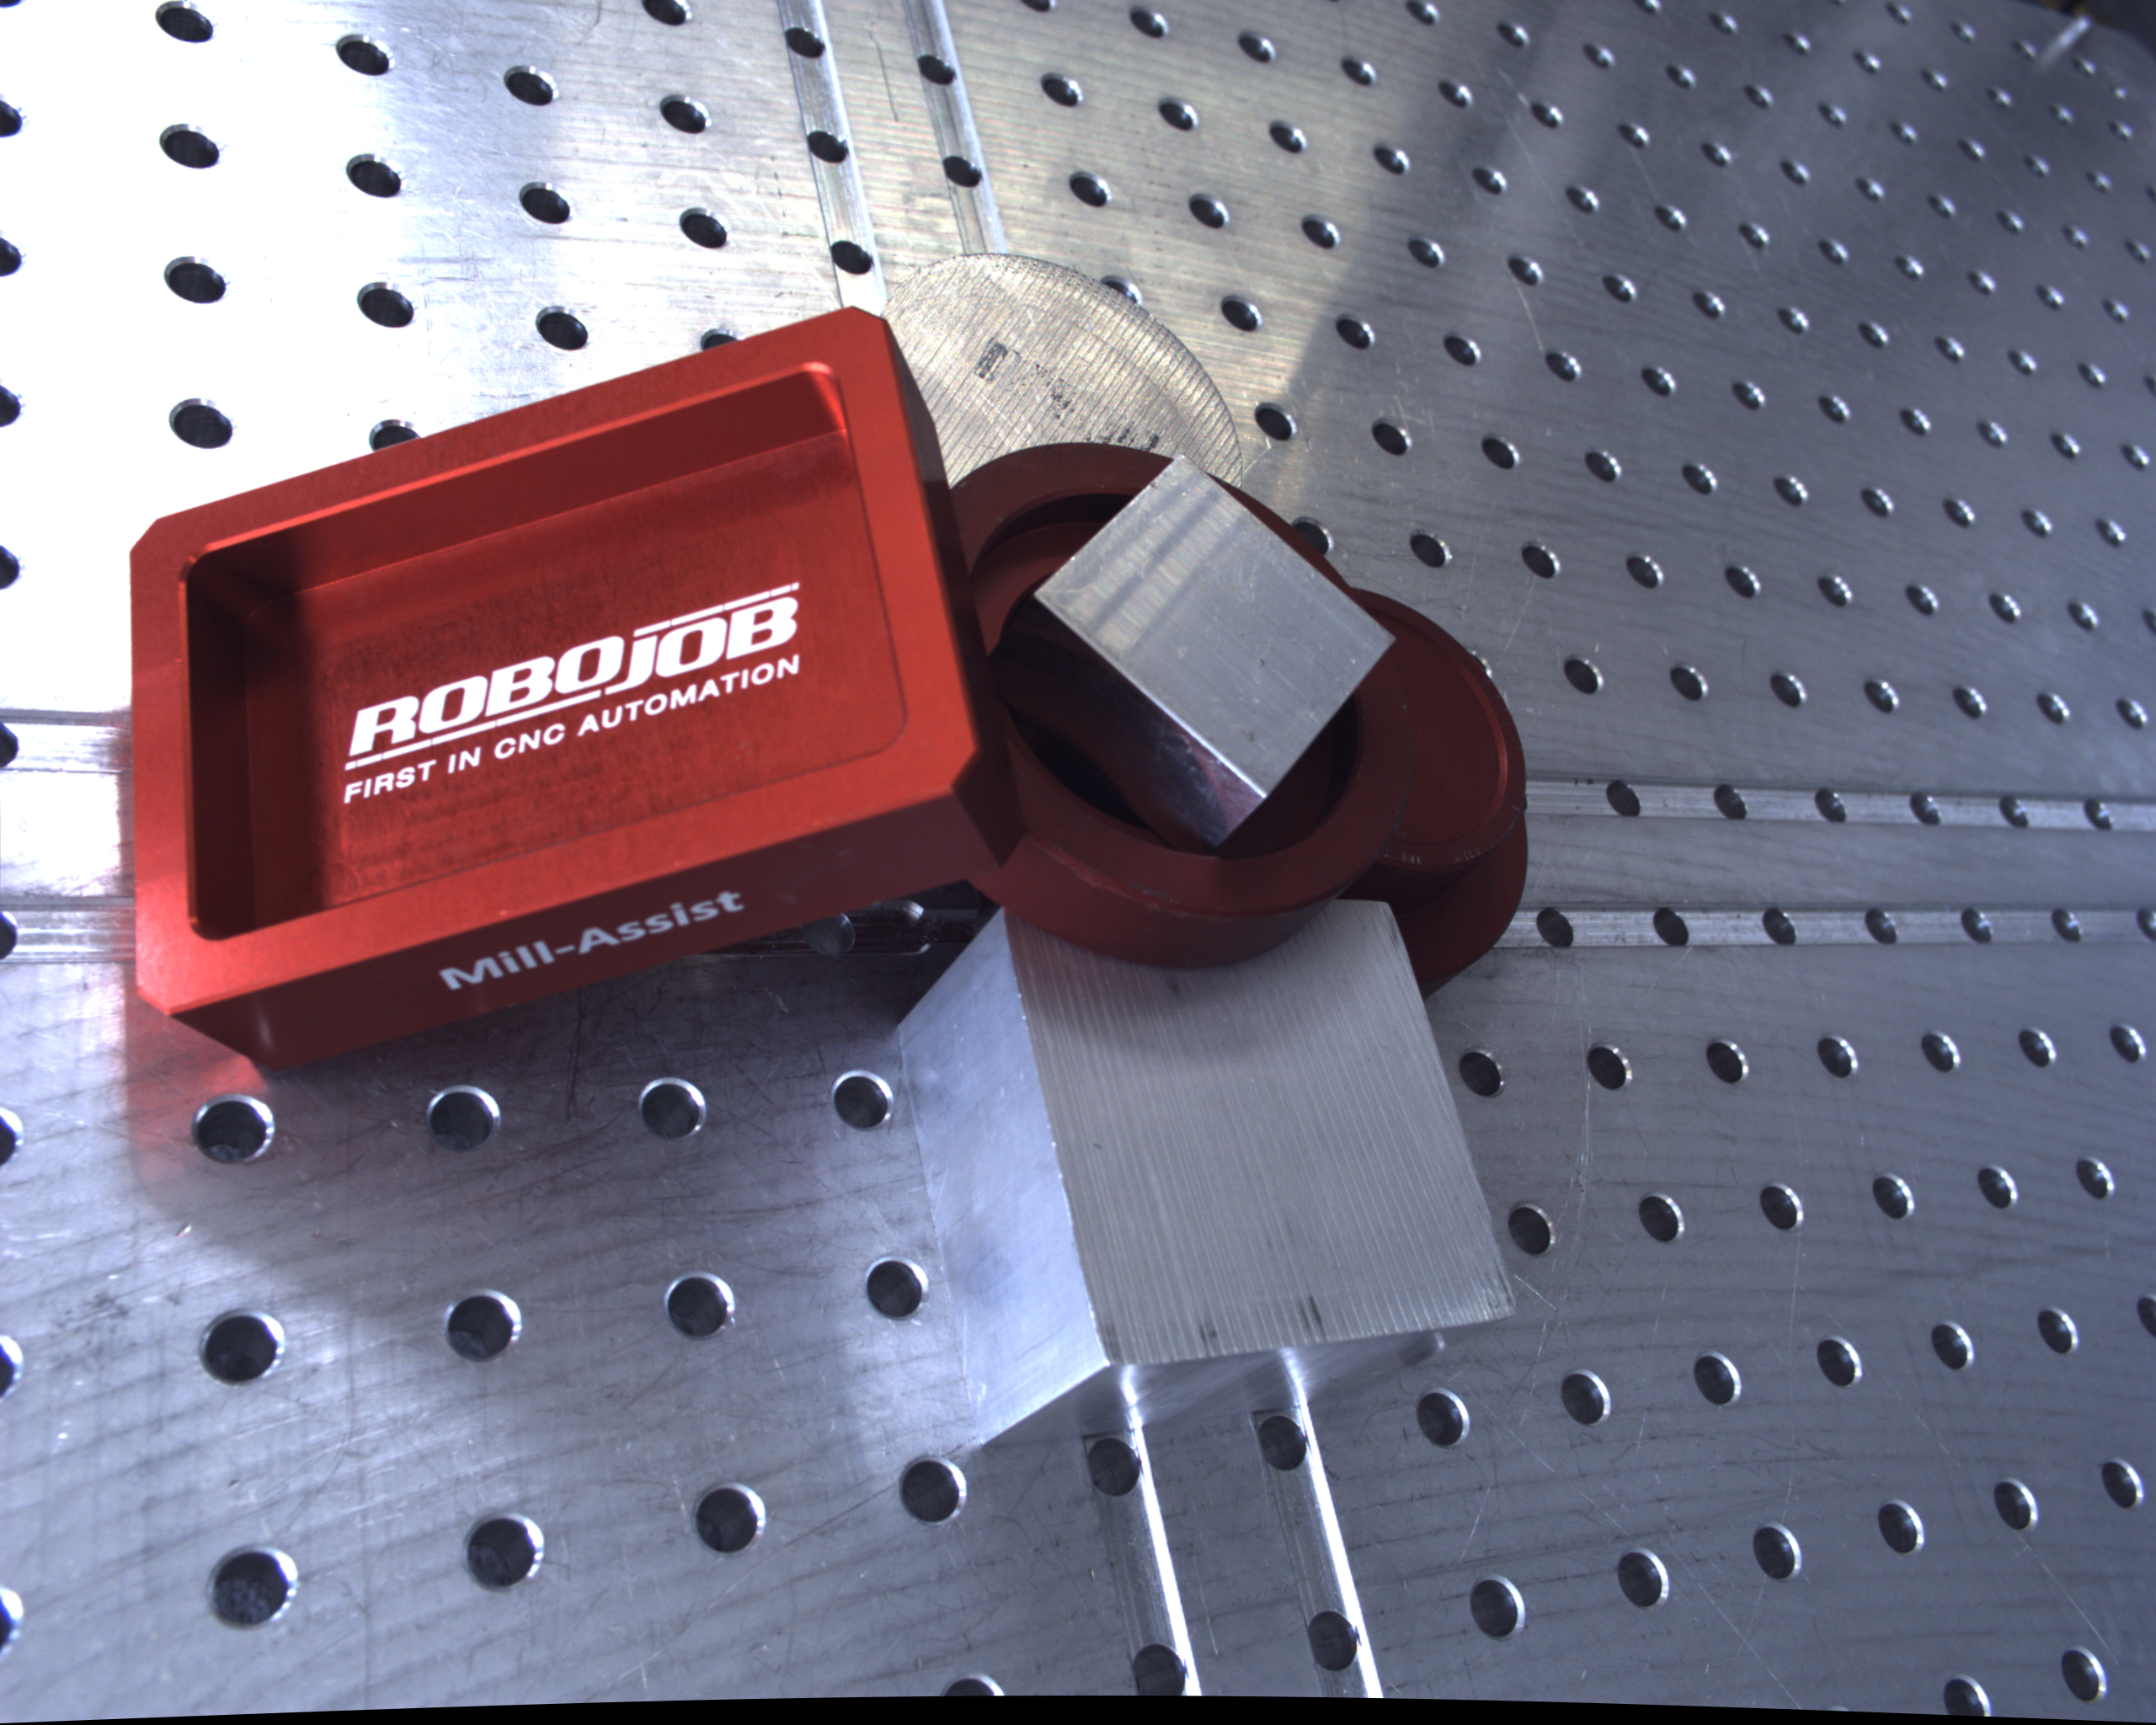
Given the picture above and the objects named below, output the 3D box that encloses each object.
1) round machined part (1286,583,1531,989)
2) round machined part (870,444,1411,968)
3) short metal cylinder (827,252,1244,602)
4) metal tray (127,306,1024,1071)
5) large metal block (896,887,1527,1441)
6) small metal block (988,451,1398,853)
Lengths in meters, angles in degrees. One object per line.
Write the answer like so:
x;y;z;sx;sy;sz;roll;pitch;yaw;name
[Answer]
0.054;-0.020;0.436;0.099;0.042;0.098;14;56;-21;round machined part
0.008;-0.024;0.379;0.099;0.042;0.098;14;56;-21;round machined part
-0.013;-0.078;0.432;0.081;0.050;0.080;14;56;-21;short metal cylinder
-0.082;-0.028;0.331;0.131;0.030;0.090;-16;65;5;metal tray
0.021;0.051;0.368;0.081;0.050;0.080;1;62;-28;large metal block
0.019;-0.036;0.361;0.050;0.025;0.050;41;51;0;small metal block
